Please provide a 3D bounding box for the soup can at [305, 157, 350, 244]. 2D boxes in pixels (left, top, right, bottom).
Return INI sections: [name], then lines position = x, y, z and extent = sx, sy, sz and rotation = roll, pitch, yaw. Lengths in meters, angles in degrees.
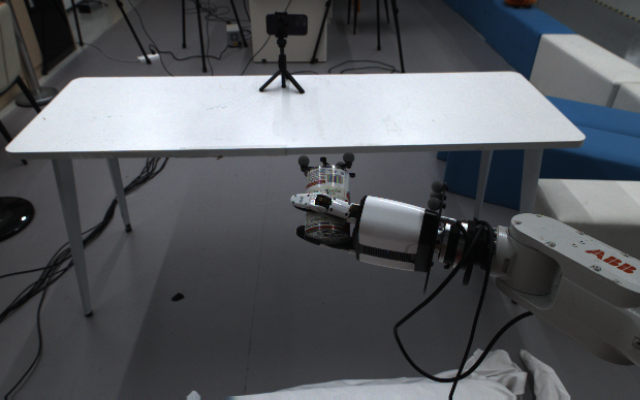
[soup can]
position = 0.012, 0.007, 0.715
extent = 0.067, 0.067, 0.101
rotation = 2, 68, -1
